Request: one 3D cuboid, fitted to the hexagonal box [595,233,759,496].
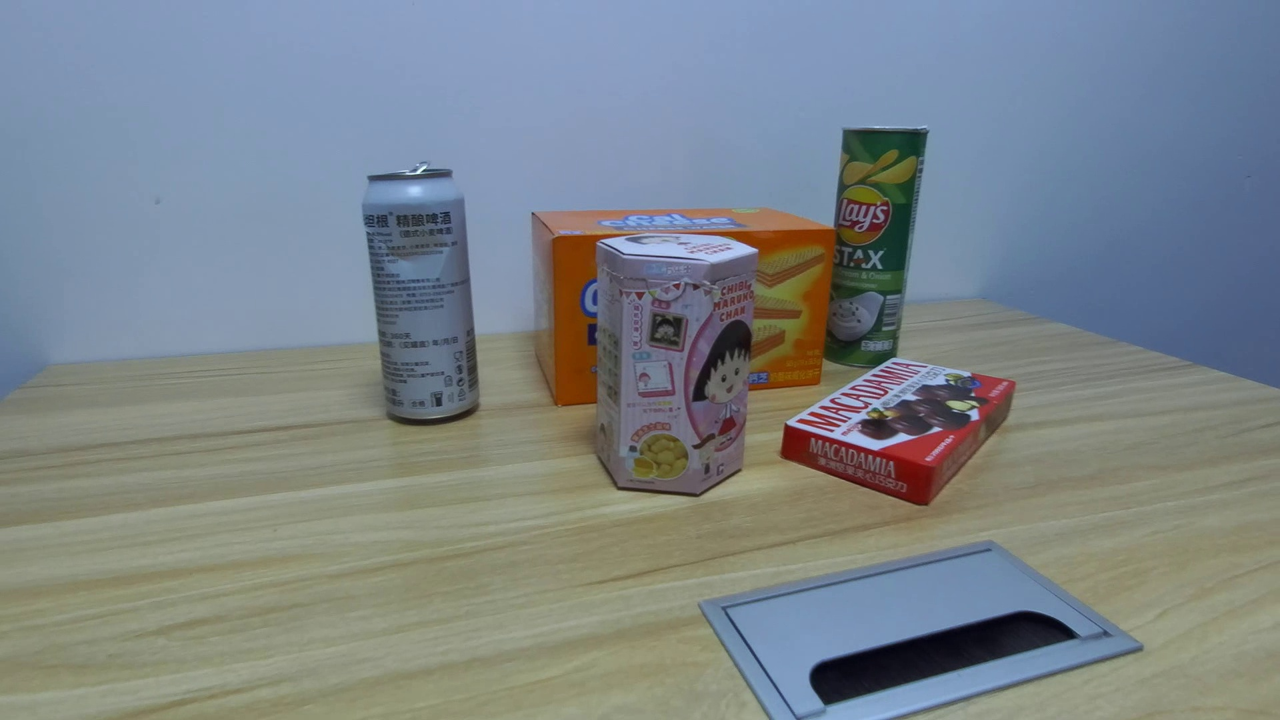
[{"bbox_3d":[0.020,0.000,0.412,0.083,0.136,0.091,15,23,37],"label":"hexagonal box"}]

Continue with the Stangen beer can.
[{"bbox_3d":[-0.152,-0.045,0.491,0.070,0.173,0.069,-10,19,-30],"label":"Stangen beer can"}]

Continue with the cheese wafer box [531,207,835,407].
[{"bbox_3d":[0.029,-0.055,0.602,0.222,0.129,0.148,-3,19,-14],"label":"cheese wafer box"}]

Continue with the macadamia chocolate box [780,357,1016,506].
[{"bbox_3d":[0.181,0.040,0.479,0.095,0.027,0.178,15,23,38],"label":"macadamia chocolate box"}]

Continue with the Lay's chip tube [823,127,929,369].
[{"bbox_3d":[0.201,-0.098,0.616,0.071,0.202,0.071,1,17,0],"label":"Lay's chip tube"}]
